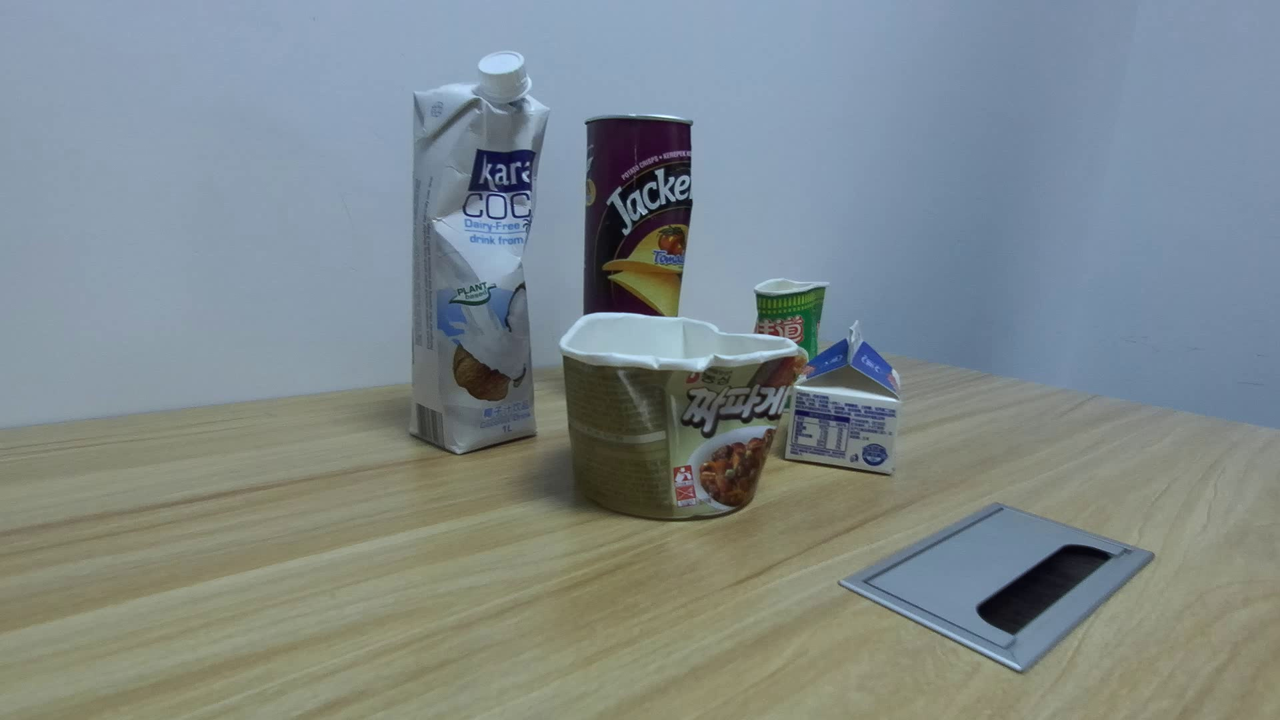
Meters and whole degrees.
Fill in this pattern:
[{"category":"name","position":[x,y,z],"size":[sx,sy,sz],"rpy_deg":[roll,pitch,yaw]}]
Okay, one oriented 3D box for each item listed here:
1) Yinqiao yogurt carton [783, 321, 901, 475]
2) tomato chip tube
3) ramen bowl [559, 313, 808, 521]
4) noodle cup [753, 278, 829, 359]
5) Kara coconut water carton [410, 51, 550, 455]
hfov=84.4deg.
[{"category":"Yinqiao yogurt carton","position":[0.145,0.022,0.494],"size":[0.073,0.092,0.076],"rpy_deg":[7,13,18]},{"category":"tomato chip tube","position":[-0.006,-0.077,0.588],"size":[0.076,0.235,0.077],"rpy_deg":[-1,9,-19]},{"category":"ramen bowl","position":[0.010,0.029,0.413],"size":[0.134,0.097,0.113],"rpy_deg":[-5,15,-37]},{"category":"noodle cup","position":[0.126,-0.016,0.621],"size":[0.115,0.111,0.070],"rpy_deg":[-7,17,-43]},{"category":"Kara coconut water carton","position":[-0.111,-0.070,0.477],"size":[0.084,0.255,0.078],"rpy_deg":[-5,15,-35]}]
